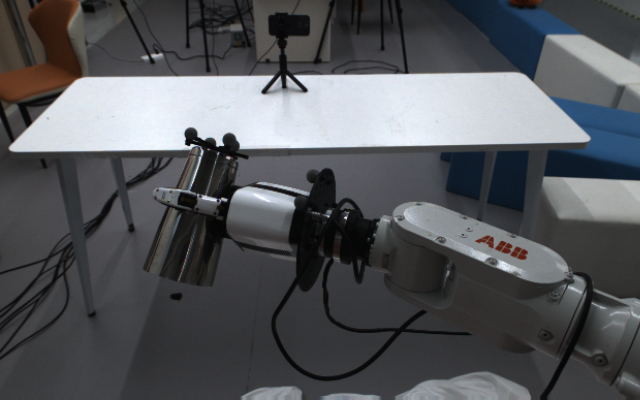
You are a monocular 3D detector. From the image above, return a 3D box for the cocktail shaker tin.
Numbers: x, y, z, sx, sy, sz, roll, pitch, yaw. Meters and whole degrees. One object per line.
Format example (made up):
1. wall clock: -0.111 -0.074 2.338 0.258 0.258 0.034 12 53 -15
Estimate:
1. cocktail shaker tin: -0.165 0.021 0.644 0.093 0.170 0.093 15 -6 2
